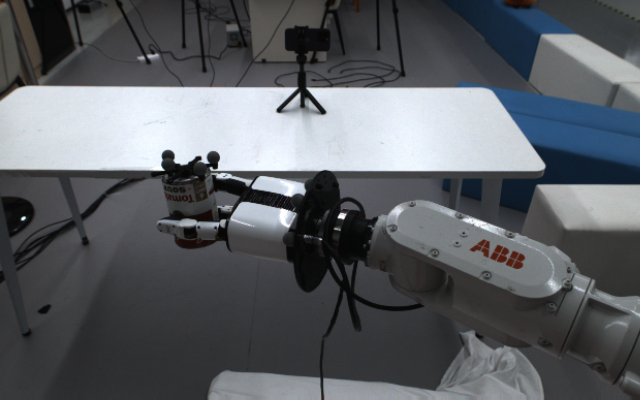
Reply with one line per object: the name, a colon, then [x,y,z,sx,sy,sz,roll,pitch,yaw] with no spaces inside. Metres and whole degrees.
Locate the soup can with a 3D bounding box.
soup can: [-0.178,0.009,0.679,0.067,0.101,0.067,-3,26,2]
